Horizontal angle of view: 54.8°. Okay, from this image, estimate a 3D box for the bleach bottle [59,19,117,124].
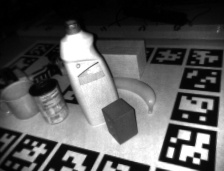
[{"bbox_3d":[-0.051,-0.030,0.496,0.103,0.253,0.067,-33,42,-24],"label":"bleach bottle"}]

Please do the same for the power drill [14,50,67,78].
[{"bbox_3d":[-0.246,-0.051,0.740,0.188,0.058,0.182,-33,46,-25],"label":"power drill"}]

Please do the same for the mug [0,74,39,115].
[{"bbox_3d":[-0.260,0.034,0.612,0.117,0.082,0.092,-27,42,-11],"label":"mug"}]

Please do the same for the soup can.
[{"bbox_3d":[-0.163,0.030,0.565,0.068,0.103,0.067,-6,36,5],"label":"soup can"}]

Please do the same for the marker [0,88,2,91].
[{"bbox_3d":[-0.360,0.051,0.675,0.019,0.020,0.120,-15,39,2],"label":"marker"}]

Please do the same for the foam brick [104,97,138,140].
[{"bbox_3d":[0.021,0.074,0.490,0.052,0.078,0.052,-29,39,-21],"label":"foam brick"}]

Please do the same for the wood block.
[{"bbox_3d":[-0.006,-0.095,0.695,0.204,0.092,0.090,5,43,22],"label":"wood block"}]

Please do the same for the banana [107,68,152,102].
[{"bbox_3d":[0.039,-0.014,0.618,0.194,0.039,0.074,20,63,32],"label":"banana"}]
